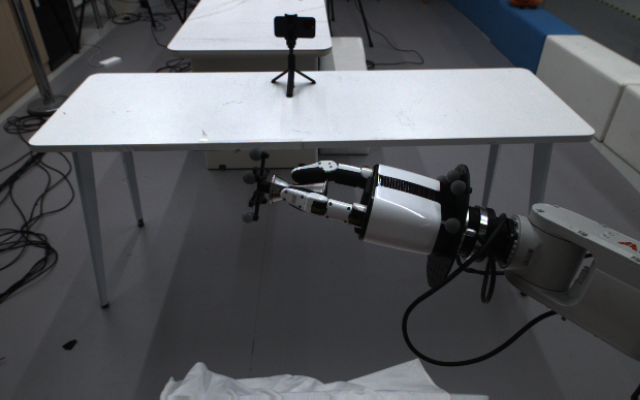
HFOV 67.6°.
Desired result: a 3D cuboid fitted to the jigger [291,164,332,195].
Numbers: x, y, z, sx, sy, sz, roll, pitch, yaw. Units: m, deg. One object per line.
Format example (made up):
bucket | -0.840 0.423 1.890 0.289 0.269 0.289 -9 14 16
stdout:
jigger | -0.019 -0.012 0.617 0.071 0.043 0.043 8 35 4
